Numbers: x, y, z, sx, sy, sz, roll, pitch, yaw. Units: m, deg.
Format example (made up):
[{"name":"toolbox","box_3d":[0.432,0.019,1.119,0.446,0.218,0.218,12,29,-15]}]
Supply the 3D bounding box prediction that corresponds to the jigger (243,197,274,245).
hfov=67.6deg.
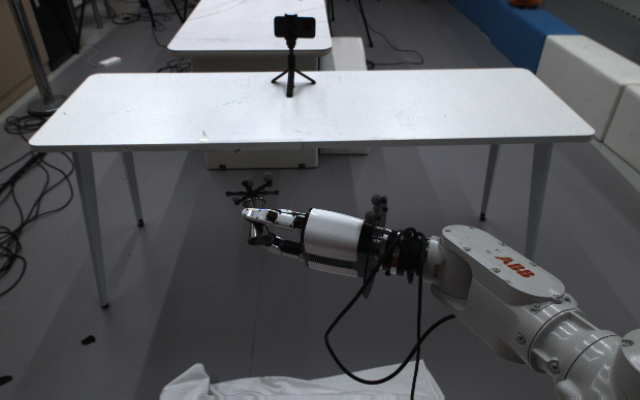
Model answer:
[{"name":"jigger","box_3d":[-0.102,0.034,0.781,0.043,0.043,0.071,-7,66,-13]}]
